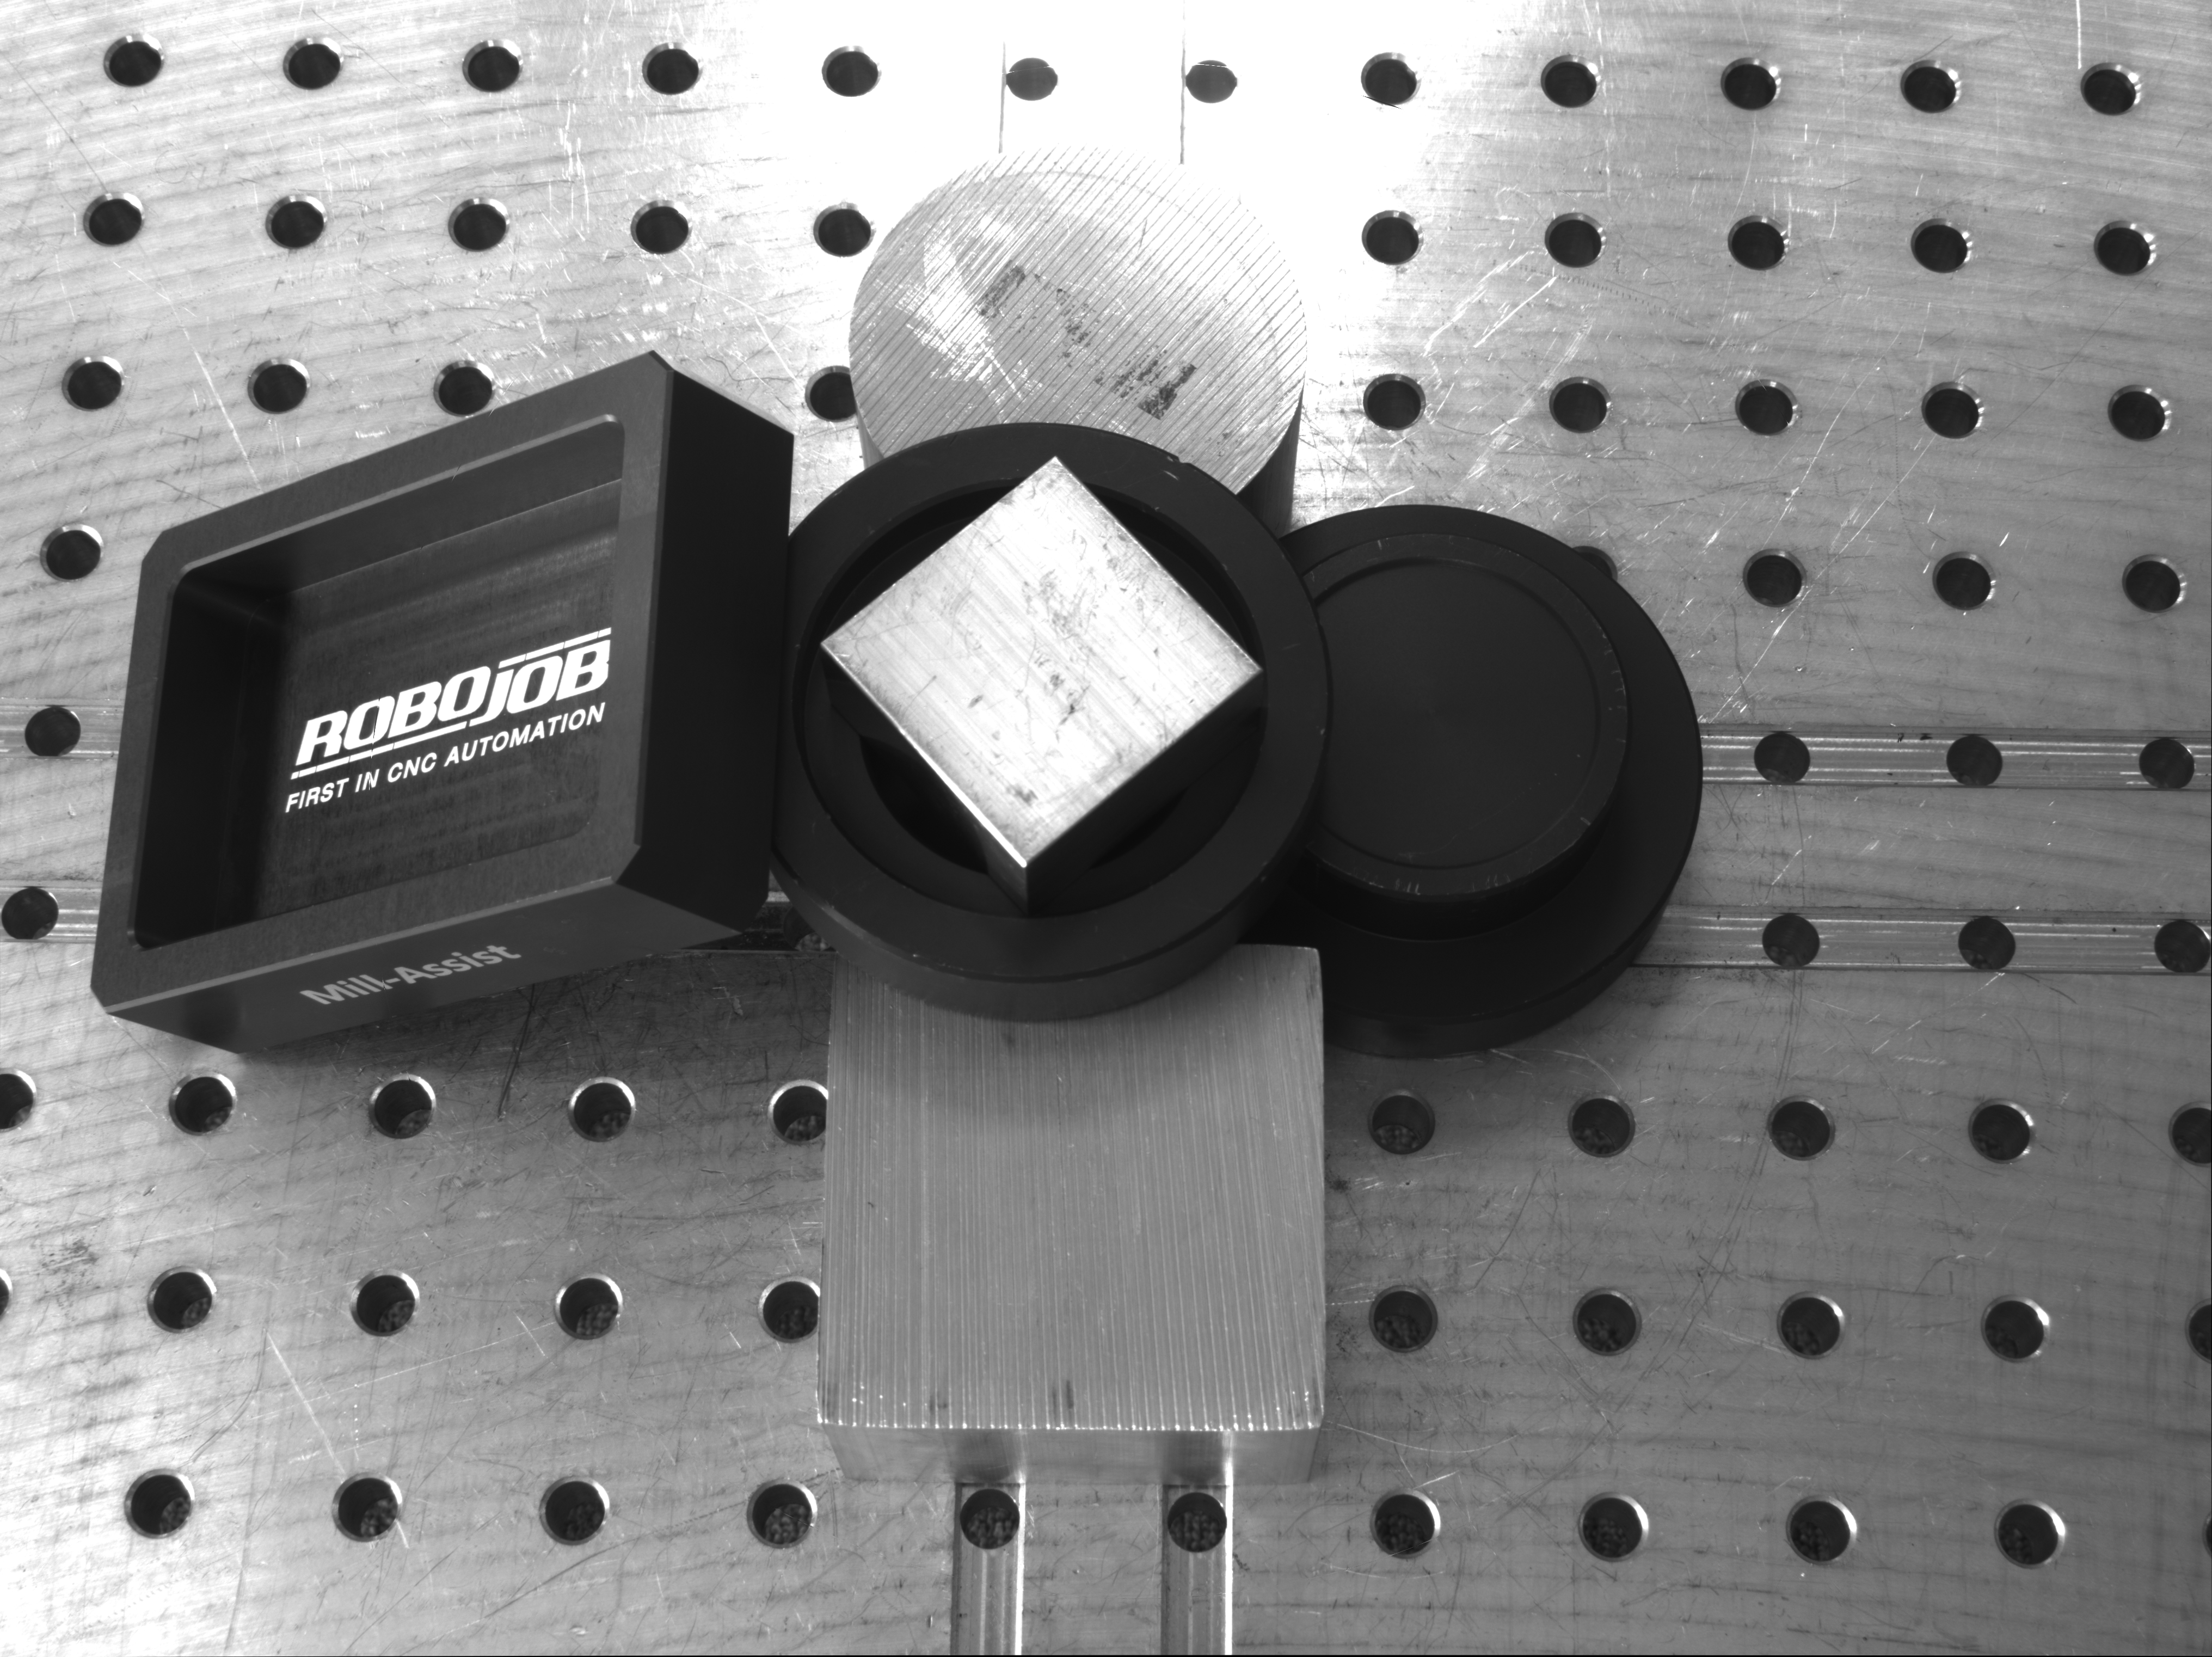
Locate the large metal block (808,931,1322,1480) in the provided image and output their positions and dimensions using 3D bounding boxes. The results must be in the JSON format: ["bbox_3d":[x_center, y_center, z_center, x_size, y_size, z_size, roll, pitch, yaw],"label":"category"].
[{"bbox_3d":[-0.006,0.063,0.608,0.080,0.050,0.080,1,70,0],"label":"large metal block"}]

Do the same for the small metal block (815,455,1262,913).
[{"bbox_3d":[-0.011,-0.023,0.590,0.050,0.025,0.050,-40,75,-13],"label":"small metal block"}]

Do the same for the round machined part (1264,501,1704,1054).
[{"bbox_3d":[0.056,-0.013,0.642,0.098,0.042,0.098,0,70,0],"label":"round machined part"}]

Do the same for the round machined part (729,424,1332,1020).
[{"bbox_3d":[-0.012,-0.015,0.613,0.098,0.042,0.098,0,70,0],"label":"round machined part"}]

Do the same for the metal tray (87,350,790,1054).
[{"bbox_3d":[-0.113,-0.018,0.613,0.130,0.030,0.090,-14,65,35],"label":"metal tray"}]

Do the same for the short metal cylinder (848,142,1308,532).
[{"bbox_3d":[-0.005,-0.076,0.661,0.080,0.050,0.080,0,70,0],"label":"short metal cylinder"}]
